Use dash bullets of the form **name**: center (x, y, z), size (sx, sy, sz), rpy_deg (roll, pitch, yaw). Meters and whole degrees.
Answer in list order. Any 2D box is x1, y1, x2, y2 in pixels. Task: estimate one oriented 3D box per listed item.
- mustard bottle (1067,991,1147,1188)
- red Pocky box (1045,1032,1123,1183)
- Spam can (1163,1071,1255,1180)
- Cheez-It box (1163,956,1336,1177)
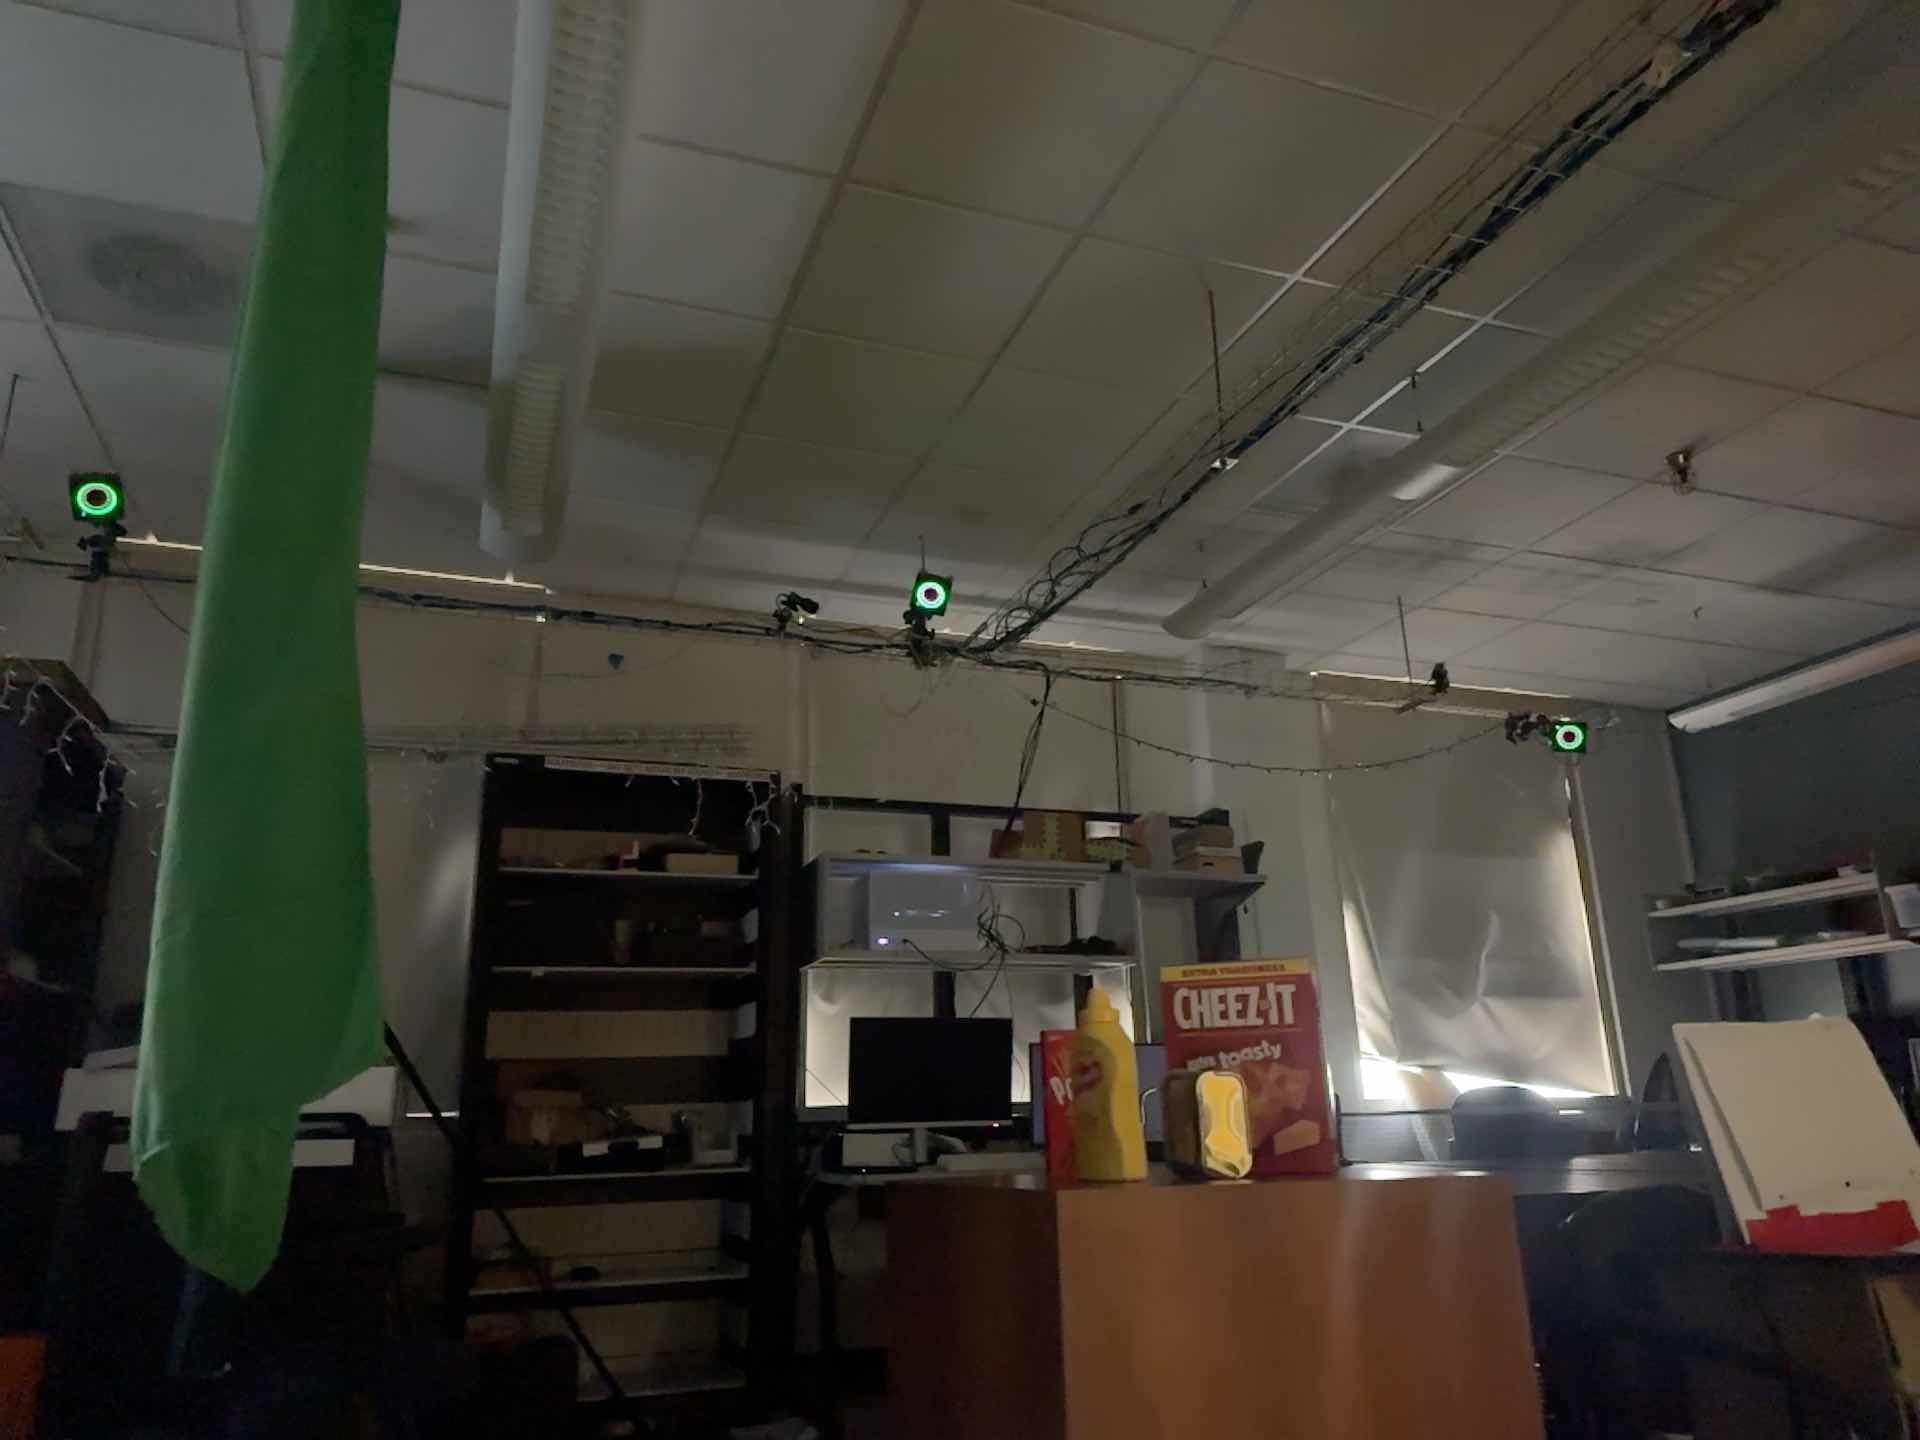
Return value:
- **mustard bottle**: center (0.138, 0.357, 1.308), size (0.054, 0.184, 0.092), rpy_deg (4, -18, -21)
- **red Pocky box**: center (0.135, 0.410, 1.431), size (0.083, 0.155, 0.028), rpy_deg (0, -17, -7)
- **Spam can**: center (0.243, 0.395, 1.316), size (0.056, 0.100, 0.083), rpy_deg (2, -16, -14)
- **Cheez-It box**: center (0.307, 0.369, 1.435), size (0.159, 0.214, 0.062), rpy_deg (-4, -16, 10)
